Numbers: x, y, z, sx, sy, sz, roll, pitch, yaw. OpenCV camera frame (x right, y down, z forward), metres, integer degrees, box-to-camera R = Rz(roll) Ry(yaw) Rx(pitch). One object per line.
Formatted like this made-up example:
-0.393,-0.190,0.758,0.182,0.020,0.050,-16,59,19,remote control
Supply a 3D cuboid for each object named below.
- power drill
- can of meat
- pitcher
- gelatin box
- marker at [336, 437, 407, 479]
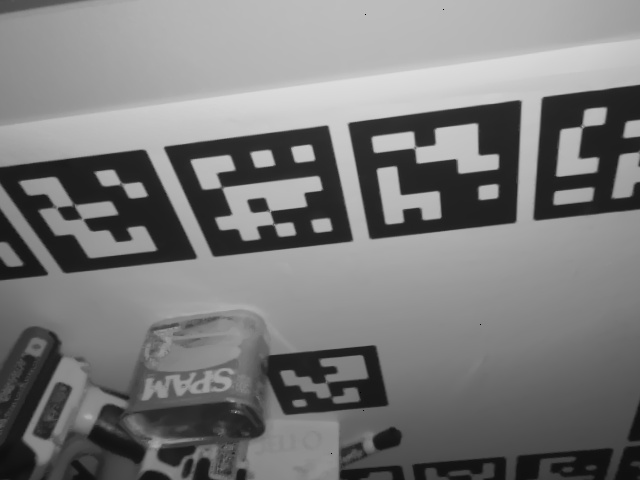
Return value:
-0.143,0.184,0.556,0.188,0.186,0.056,23,126,-11,power drill
-0.087,0.098,0.542,0.101,0.084,0.057,-8,133,8,can of meat
-0.172,0.281,0.611,0.190,0.244,0.131,14,127,-20,pitcher
-0.029,0.209,0.651,0.089,0.074,0.030,2,128,1,gelatin box
0.035,0.226,0.699,0.119,0.020,0.020,-29,124,22,marker
